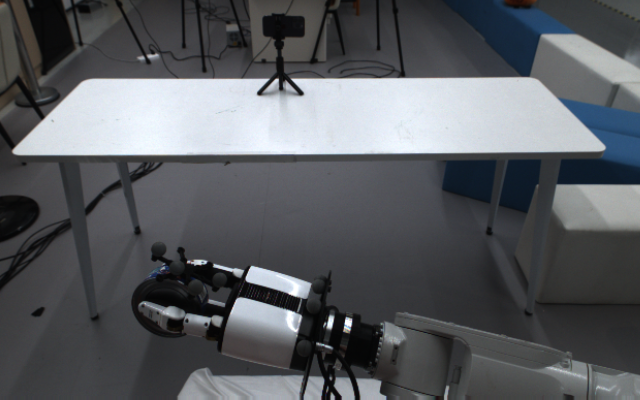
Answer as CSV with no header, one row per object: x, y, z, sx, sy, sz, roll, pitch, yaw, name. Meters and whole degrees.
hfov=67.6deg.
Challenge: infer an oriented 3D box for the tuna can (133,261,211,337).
-0.181,0.126,0.594,0.085,0.085,0.034,4,20,3,tuna can
